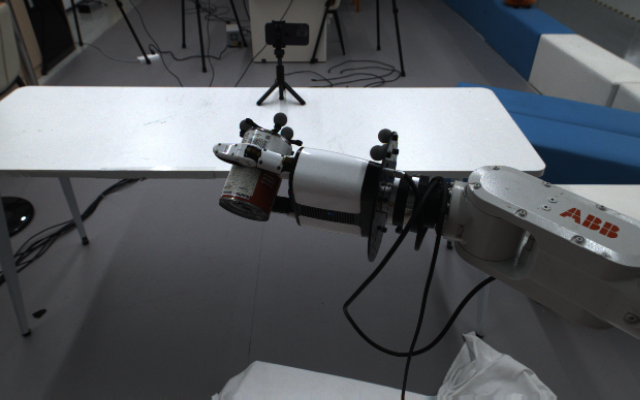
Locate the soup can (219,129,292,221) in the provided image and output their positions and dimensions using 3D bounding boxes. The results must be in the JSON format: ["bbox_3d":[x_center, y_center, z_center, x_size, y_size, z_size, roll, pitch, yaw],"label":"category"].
[{"bbox_3d":[-0.082,-0.033,0.619,0.067,0.067,0.101,12,70,14],"label":"soup can"}]
